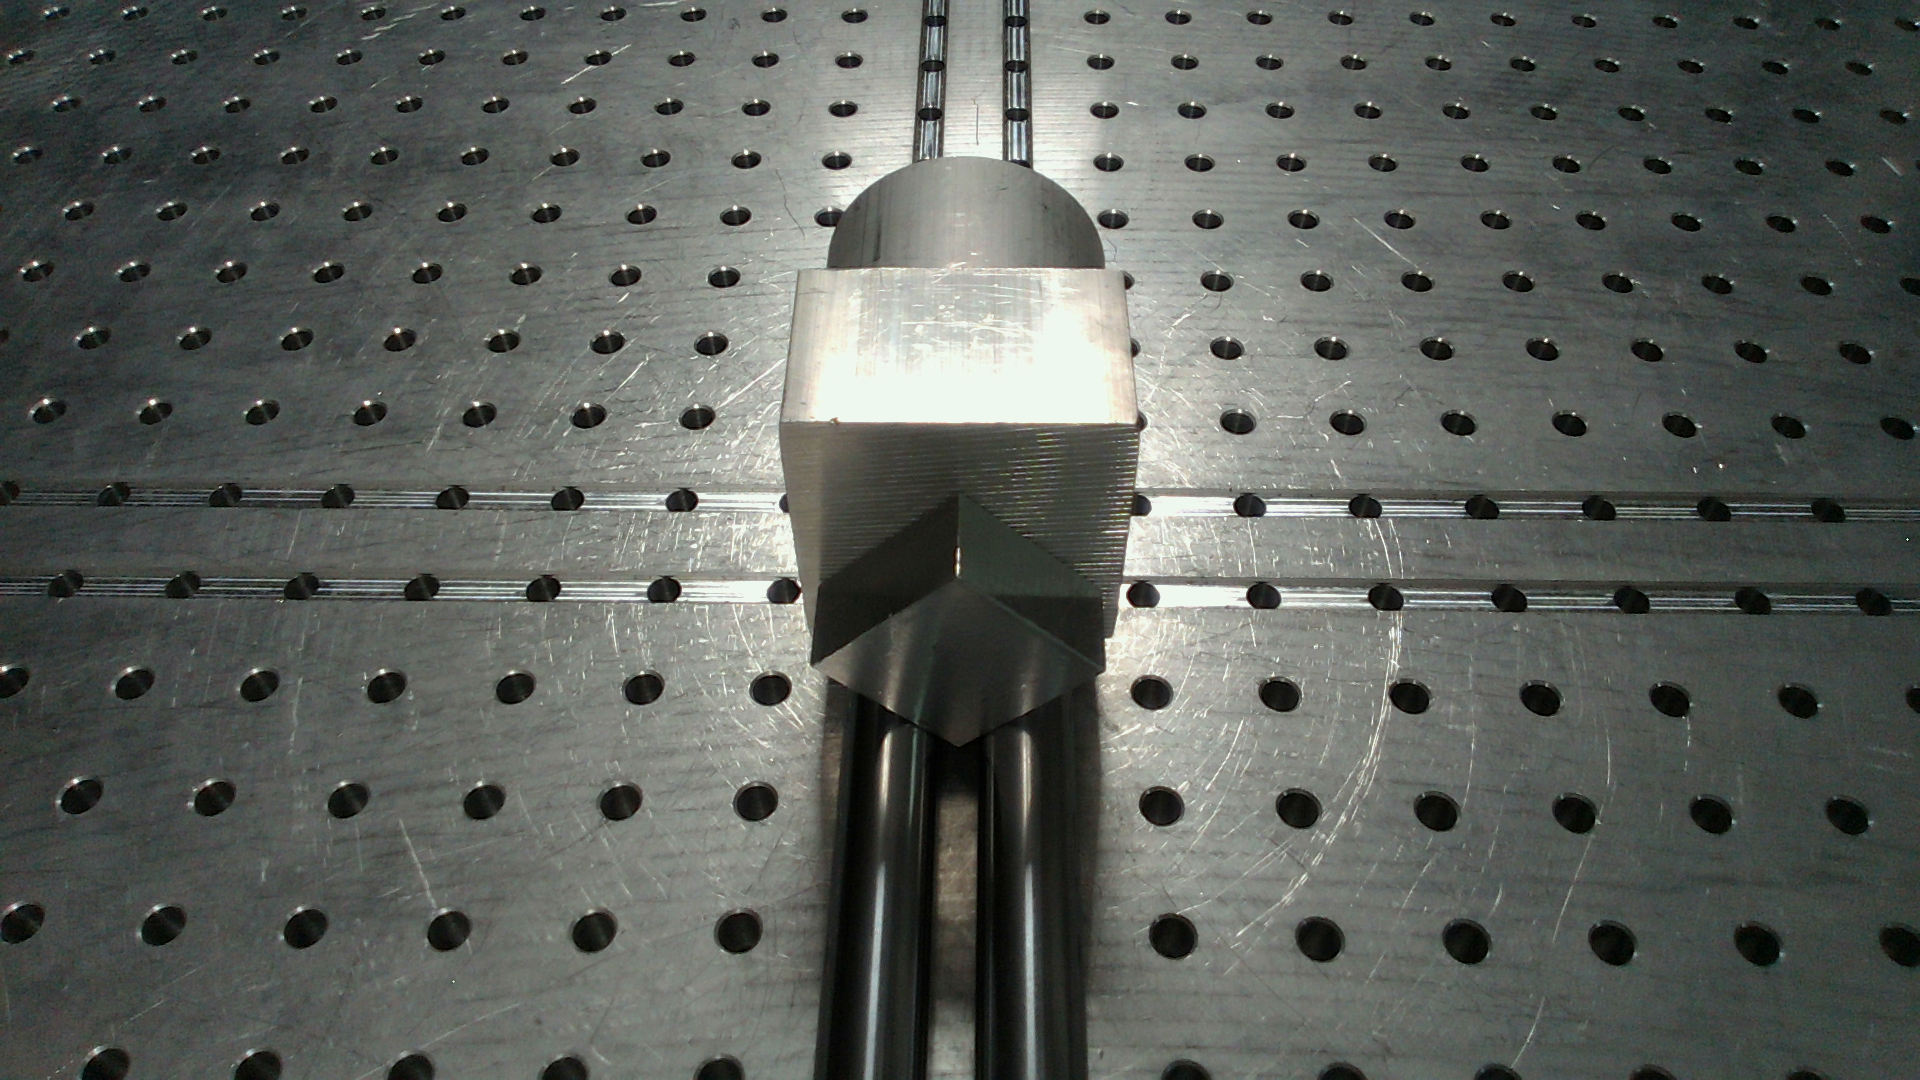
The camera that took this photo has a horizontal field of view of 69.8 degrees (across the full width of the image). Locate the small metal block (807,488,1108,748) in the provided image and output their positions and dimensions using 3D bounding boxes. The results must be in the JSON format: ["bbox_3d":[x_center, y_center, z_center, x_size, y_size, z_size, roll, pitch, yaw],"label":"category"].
[{"bbox_3d":[0.000,0.021,0.331,0.050,0.050,0.025,33,40,-32],"label":"small metal block"}]

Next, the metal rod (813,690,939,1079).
[{"bbox_3d":[-0.017,0.008,0.390,0.025,0.025,0.300,1,50,1],"label":"metal rod"}]

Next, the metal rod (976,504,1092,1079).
[{"bbox_3d":[0.018,0.011,0.387,0.025,0.025,0.300,1,50,1],"label":"metal rod"}]

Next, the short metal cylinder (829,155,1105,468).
[{"bbox_3d":[0.001,-0.057,0.379,0.080,0.080,0.050,0,50,1],"label":"short metal cylinder"}]

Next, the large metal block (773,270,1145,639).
[{"bbox_3d":[0.000,-0.019,0.343,0.080,0.080,0.050,0,50,0],"label":"large metal block"}]
